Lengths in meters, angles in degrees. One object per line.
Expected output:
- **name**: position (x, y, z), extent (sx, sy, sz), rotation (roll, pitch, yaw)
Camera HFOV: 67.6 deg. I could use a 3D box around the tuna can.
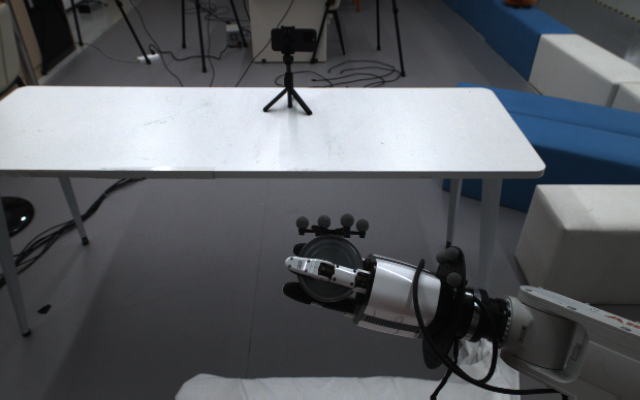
- **tuna can**: position (0.014, 0.088, 0.629), extent (0.085, 0.034, 0.085), rotation (-1, 76, 4)
